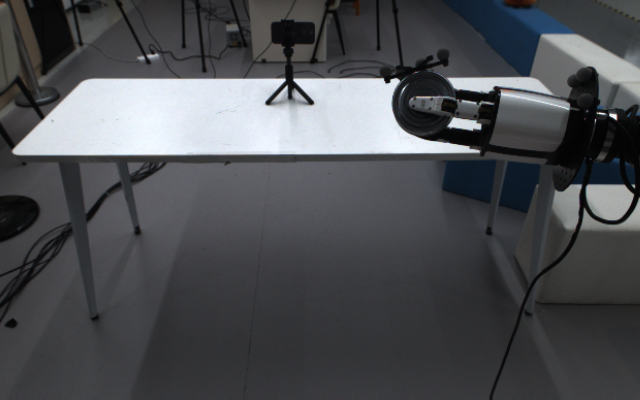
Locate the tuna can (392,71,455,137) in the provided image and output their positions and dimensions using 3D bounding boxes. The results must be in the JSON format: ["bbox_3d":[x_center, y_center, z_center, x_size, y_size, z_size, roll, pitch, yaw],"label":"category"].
[{"bbox_3d":[0.143,-0.134,0.661,0.085,0.085,0.034,12,3,14],"label":"tuna can"}]
